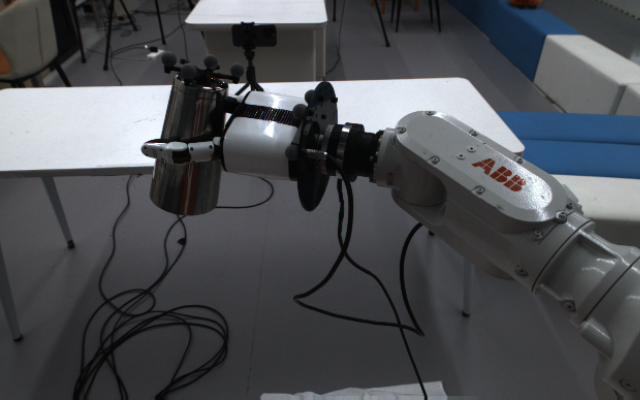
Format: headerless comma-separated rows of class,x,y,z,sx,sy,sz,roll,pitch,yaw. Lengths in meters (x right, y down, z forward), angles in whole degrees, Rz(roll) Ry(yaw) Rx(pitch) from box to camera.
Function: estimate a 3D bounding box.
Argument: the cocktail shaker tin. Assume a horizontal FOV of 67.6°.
cocktail shaker tin,-0.164,-0.076,0.628,0.093,0.170,0.093,12,29,-7
